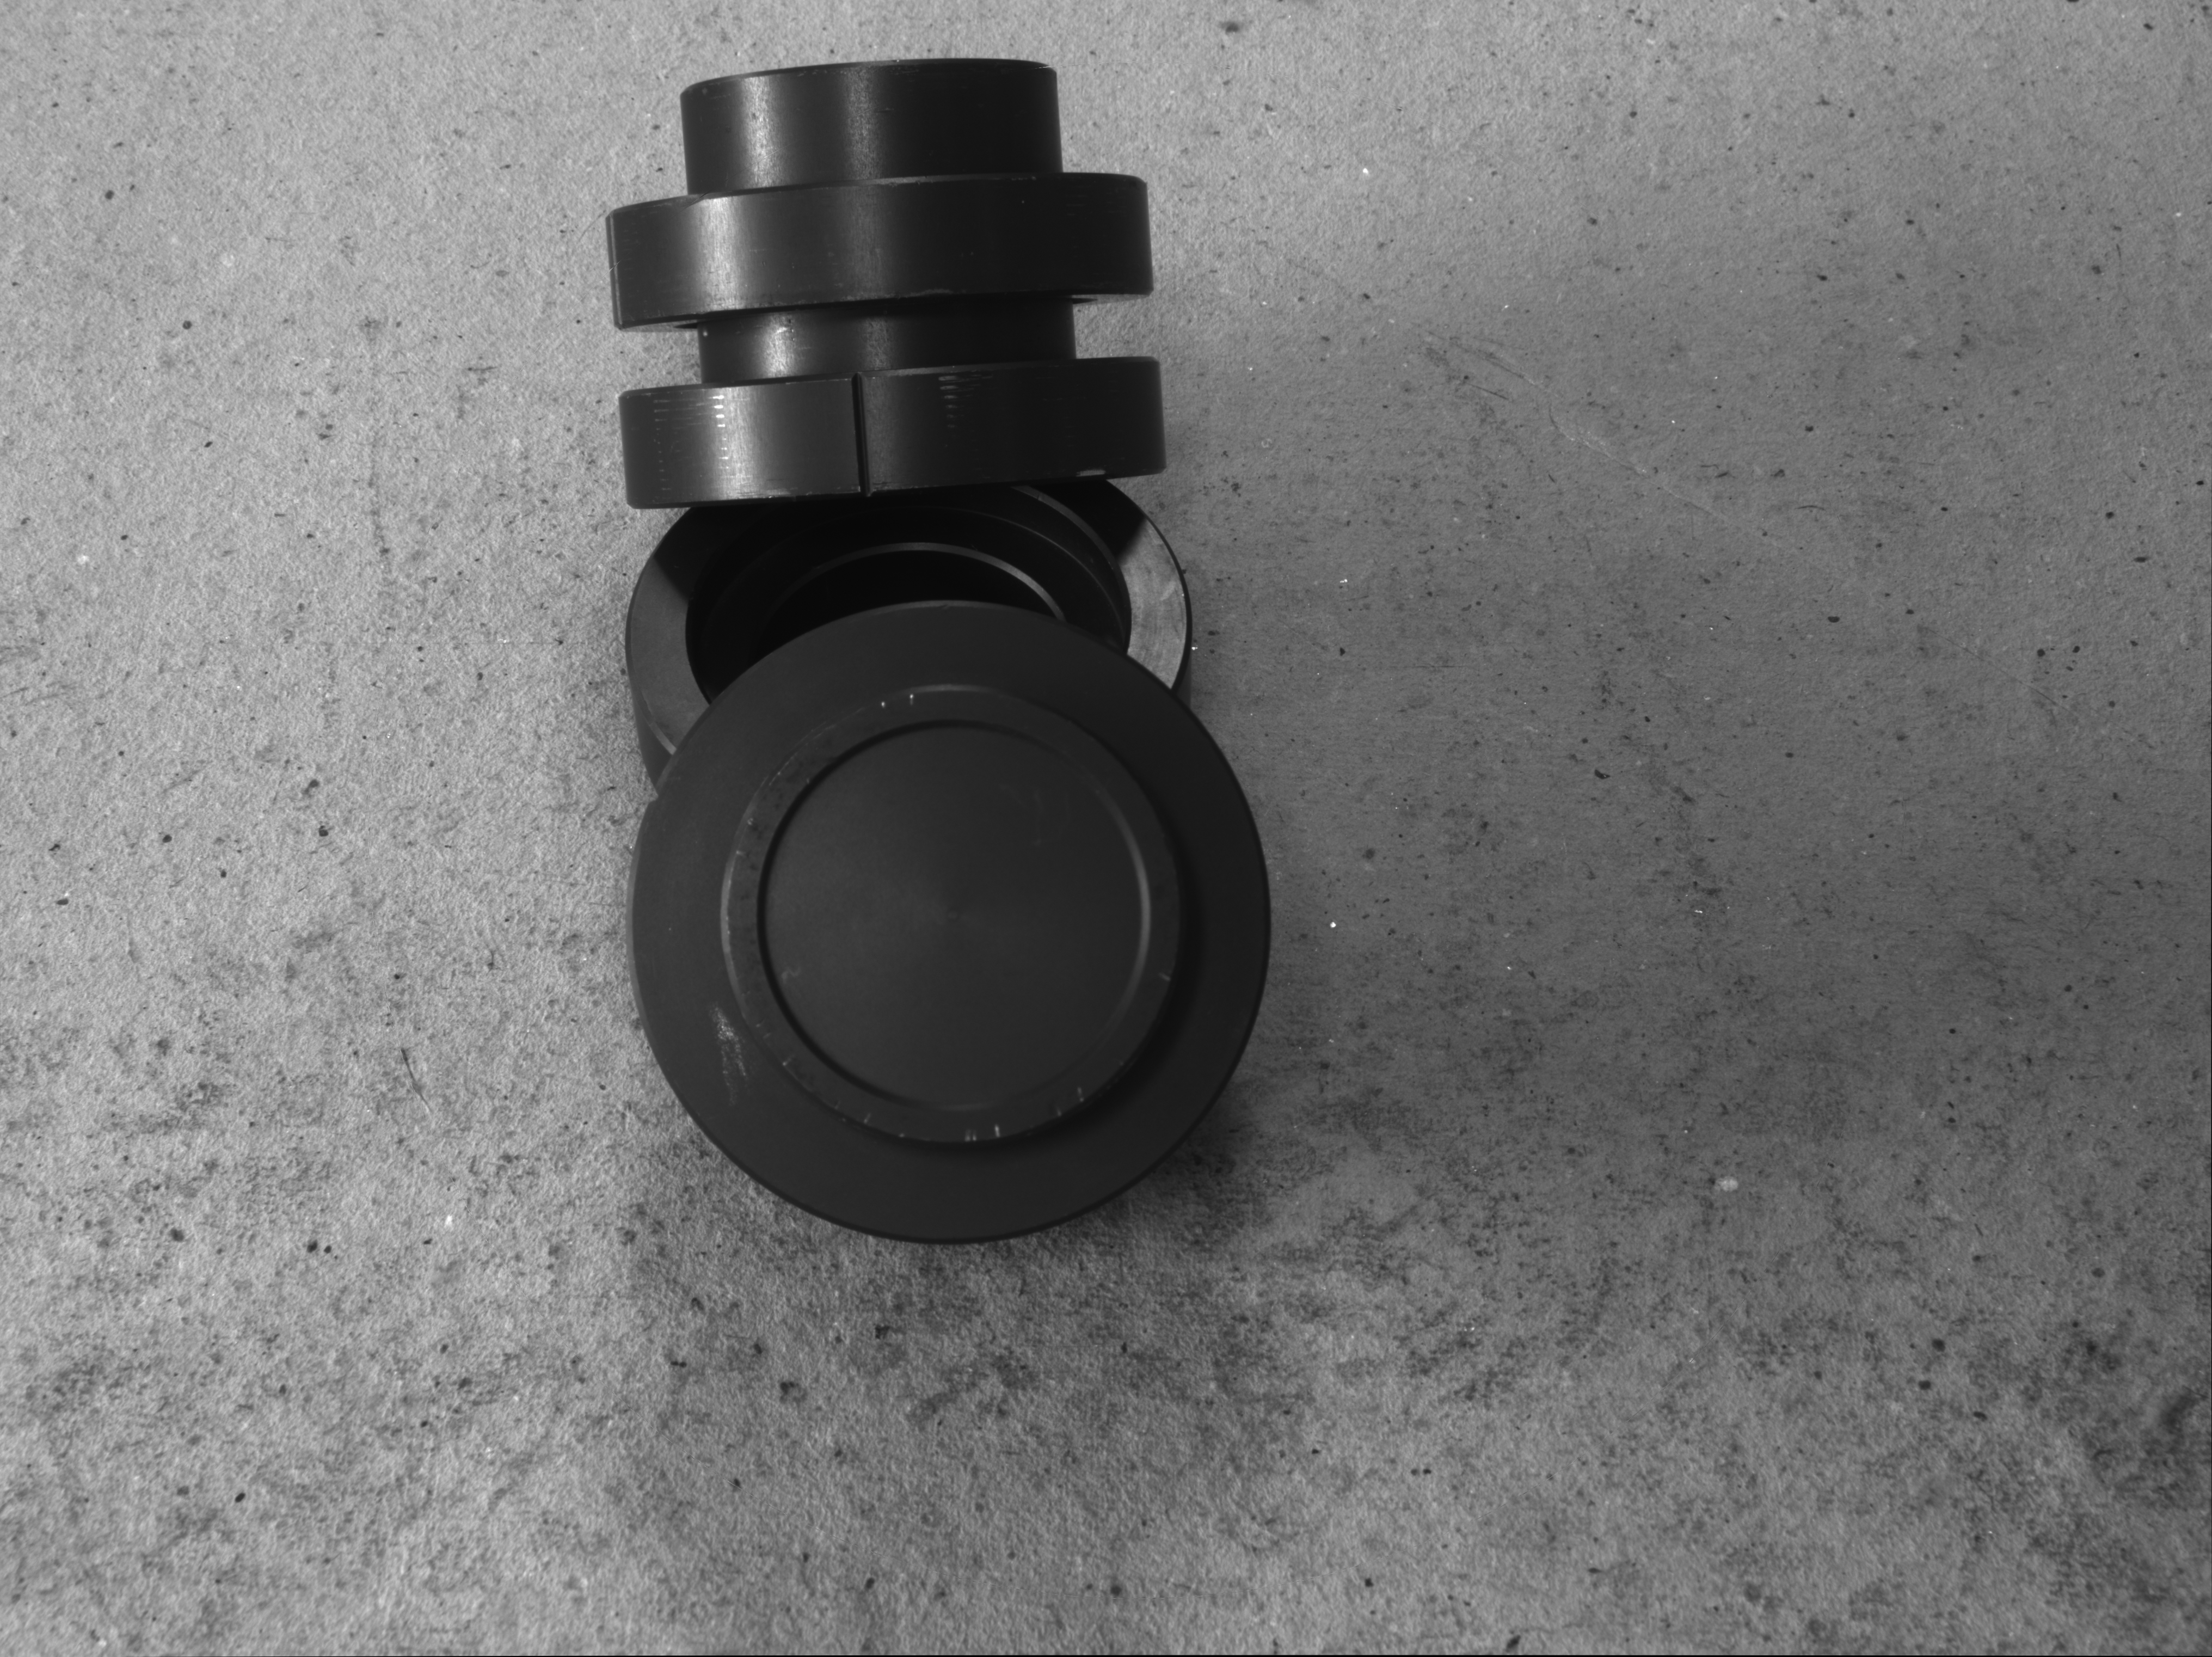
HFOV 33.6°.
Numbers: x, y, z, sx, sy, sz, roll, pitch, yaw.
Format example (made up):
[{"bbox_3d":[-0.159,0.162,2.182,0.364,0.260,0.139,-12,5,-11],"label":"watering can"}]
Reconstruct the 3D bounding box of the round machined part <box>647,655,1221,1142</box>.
[{"bbox_3d":[-0.026,0.013,0.588,0.098,0.042,0.098,0,86,-4],"label":"round machined part"}]

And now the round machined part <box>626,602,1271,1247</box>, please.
[{"bbox_3d":[-0.024,0.014,0.556,0.098,0.042,0.098,0,85,-4],"label":"round machined part"}]

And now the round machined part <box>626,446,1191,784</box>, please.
[{"bbox_3d":[-0.034,-0.022,0.651,0.098,0.042,0.098,0,50,0],"label":"round machined part"}]

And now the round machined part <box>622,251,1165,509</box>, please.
[{"bbox_3d":[-0.039,-0.082,0.664,0.098,0.042,0.098,-4,7,1],"label":"round machined part"}]

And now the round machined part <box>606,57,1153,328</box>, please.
[{"bbox_3d":[-0.041,-0.115,0.665,0.098,0.042,0.098,-4,7,1],"label":"round machined part"}]
